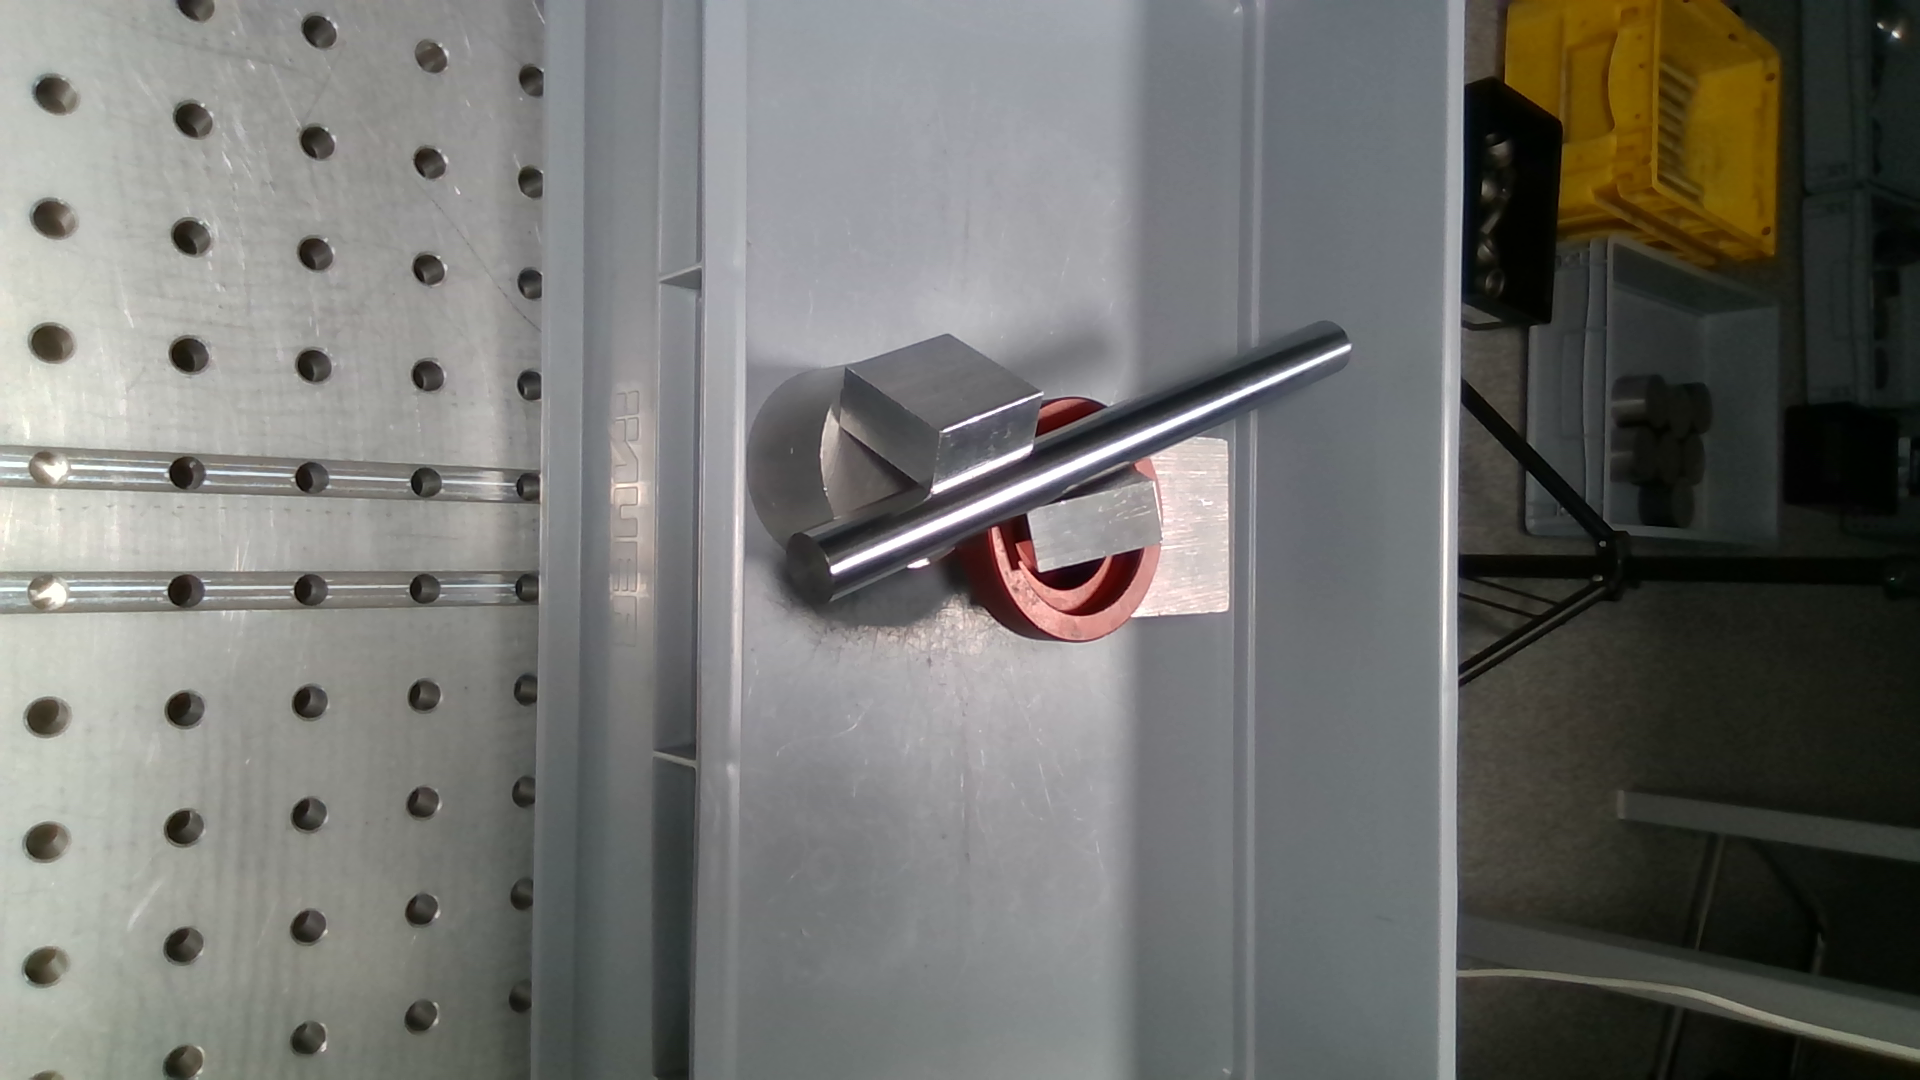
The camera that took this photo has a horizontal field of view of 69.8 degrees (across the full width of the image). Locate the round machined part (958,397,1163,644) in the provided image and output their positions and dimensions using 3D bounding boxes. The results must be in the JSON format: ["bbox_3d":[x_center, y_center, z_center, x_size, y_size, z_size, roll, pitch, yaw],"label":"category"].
[{"bbox_3d":[0.035,-0.008,0.562,0.098,0.042,0.098,0,90,-40],"label":"round machined part"}]

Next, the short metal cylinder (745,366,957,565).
[{"bbox_3d":[-0.036,-0.030,0.536,0.080,0.050,0.080,0,90,-40],"label":"short metal cylinder"}]

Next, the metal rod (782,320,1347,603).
[{"bbox_3d":[0.058,-0.040,0.539,0.300,0.025,0.025,-24,105,-38],"label":"metal rod"}]

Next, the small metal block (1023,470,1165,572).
[{"bbox_3d":[0.048,-0.011,0.543,0.050,0.050,0.025,-13,104,-4],"label":"small metal block"}]

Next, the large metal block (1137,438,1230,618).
[{"bbox_3d":[0.078,-0.006,0.630,0.080,0.050,0.080,0,90,-40],"label":"large metal block"}]

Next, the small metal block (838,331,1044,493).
[{"bbox_3d":[-0.007,-0.047,0.491,0.050,0.050,0.025,-25,139,-38],"label":"small metal block"}]
